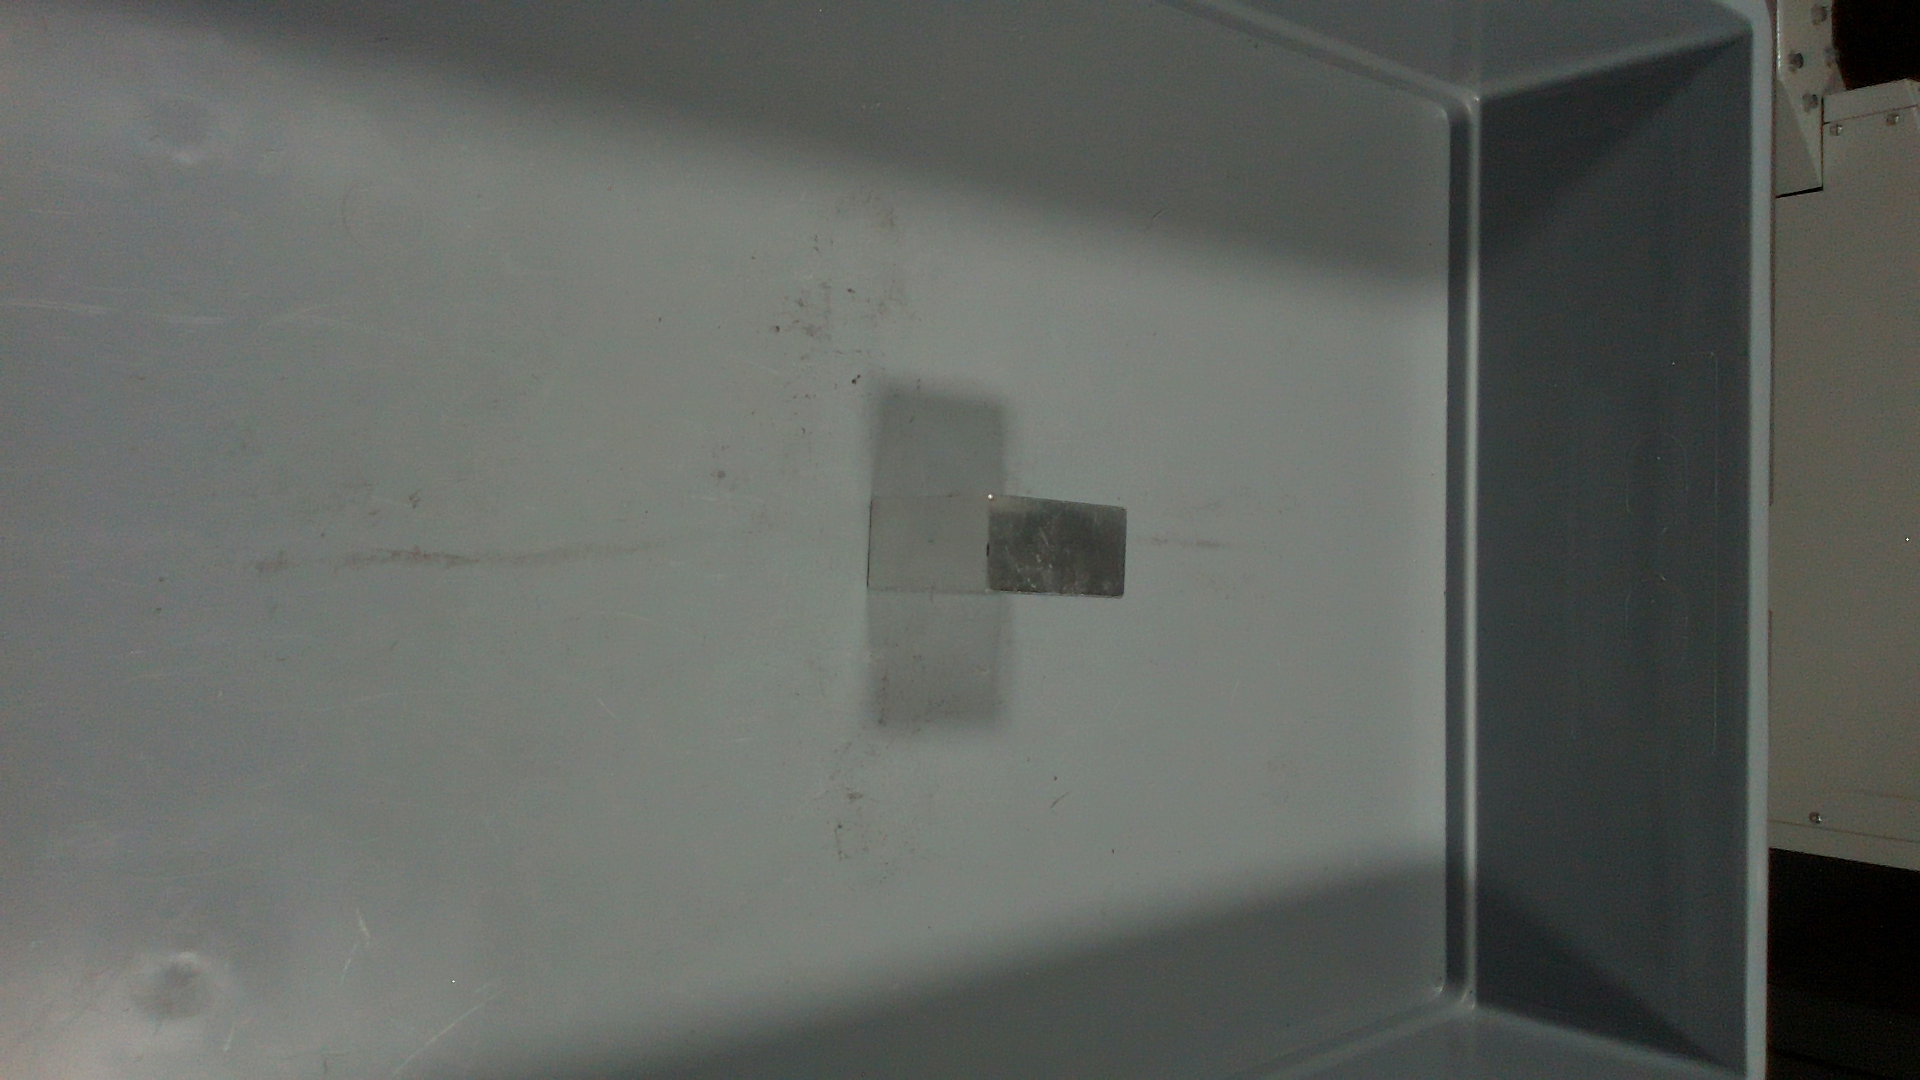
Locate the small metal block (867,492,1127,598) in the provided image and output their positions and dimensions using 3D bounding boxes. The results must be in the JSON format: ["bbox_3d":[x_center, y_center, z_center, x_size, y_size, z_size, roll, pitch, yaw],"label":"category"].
[{"bbox_3d":[0.010,0.002,0.377,0.050,0.050,0.025,4,87,-40],"label":"small metal block"}]
